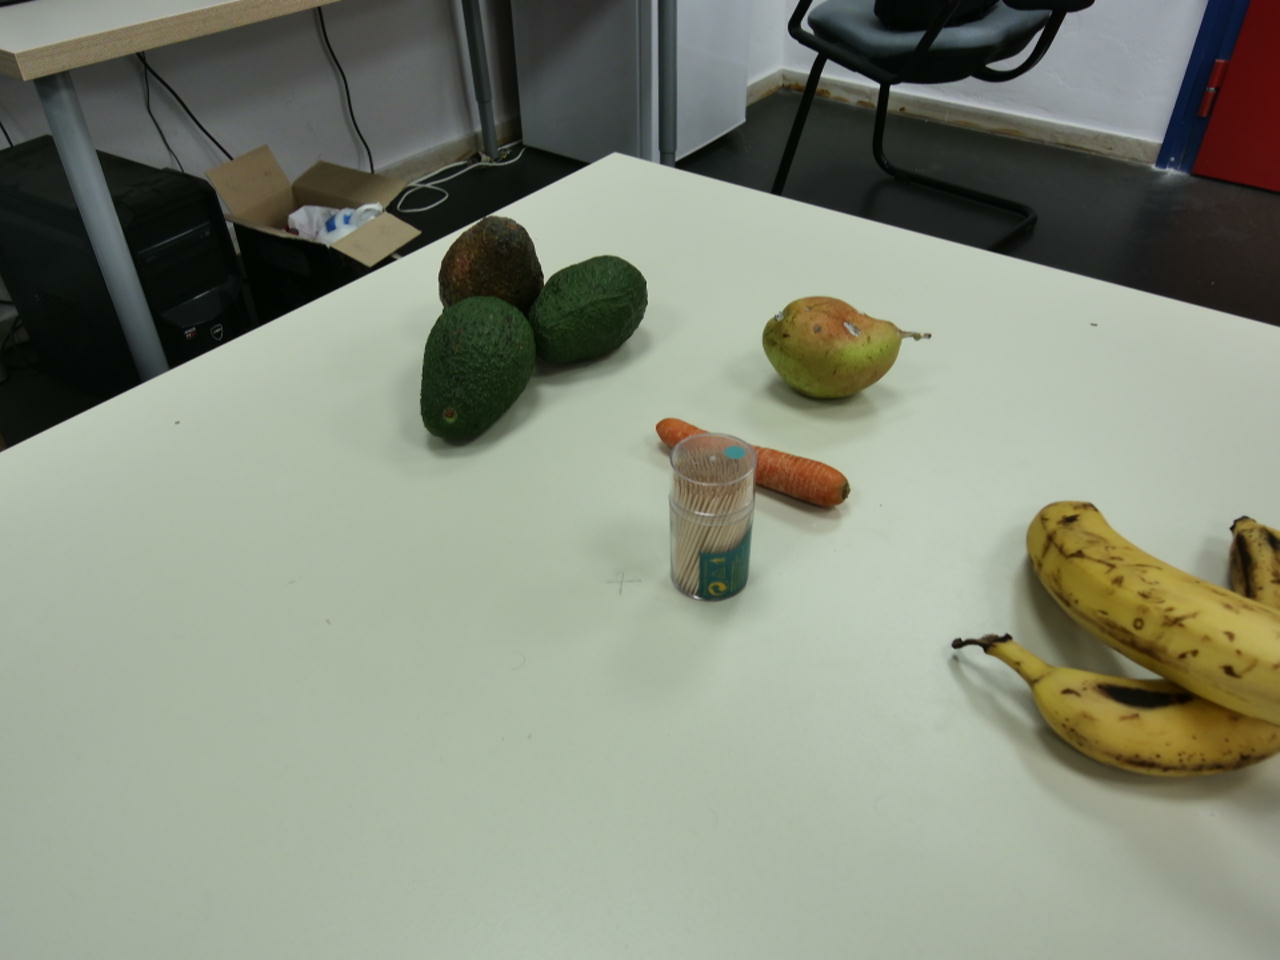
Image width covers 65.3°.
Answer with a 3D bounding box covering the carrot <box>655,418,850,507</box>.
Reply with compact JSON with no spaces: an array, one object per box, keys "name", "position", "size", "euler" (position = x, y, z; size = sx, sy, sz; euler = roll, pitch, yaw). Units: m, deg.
[{"name":"carrot","position":[0.060,-0.012,0.562],"size":[0.122,0.023,0.024],"euler":[23,43,27]}]
